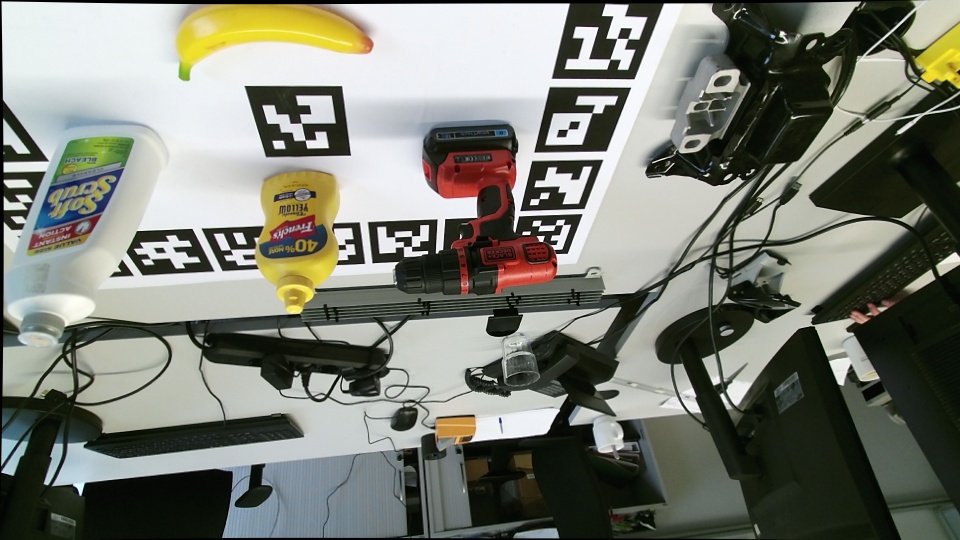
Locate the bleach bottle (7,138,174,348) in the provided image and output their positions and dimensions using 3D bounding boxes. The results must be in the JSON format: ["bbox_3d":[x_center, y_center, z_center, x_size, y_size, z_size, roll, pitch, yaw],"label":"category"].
[{"bbox_3d":[-0.404,-0.034,0.559,0.103,0.249,0.068,2,141,-15],"label":"bleach bottle"}]

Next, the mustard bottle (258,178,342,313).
[{"bbox_3d":[-0.224,-0.029,0.658,0.096,0.190,0.058,-7,142,-1],"label":"mustard bottle"}]

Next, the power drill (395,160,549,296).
[{"bbox_3d":[-0.029,-0.044,0.631,0.185,0.186,0.057,-10,143,-7],"label":"power drill"}]

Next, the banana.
[{"bbox_3d":[-0.212,-0.212,0.531,0.198,0.038,0.074,-8,141,-6],"label":"banana"}]
